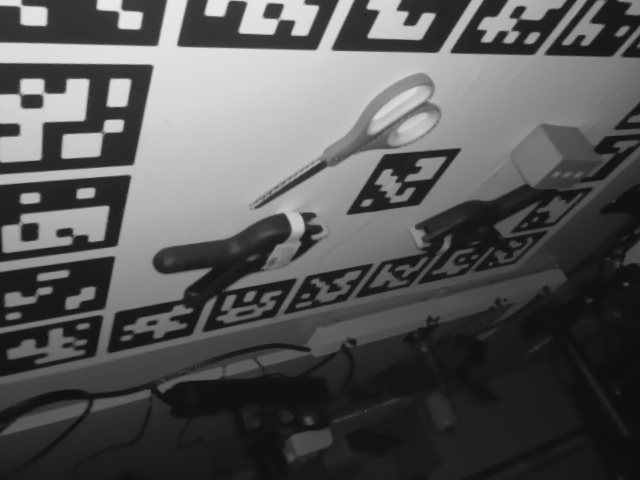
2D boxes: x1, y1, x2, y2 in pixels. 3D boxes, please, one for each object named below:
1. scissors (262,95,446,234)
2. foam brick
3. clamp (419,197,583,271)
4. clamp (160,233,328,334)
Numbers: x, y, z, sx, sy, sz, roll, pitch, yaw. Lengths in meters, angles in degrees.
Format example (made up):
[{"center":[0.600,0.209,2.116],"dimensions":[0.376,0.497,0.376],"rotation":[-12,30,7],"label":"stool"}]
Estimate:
[{"center":[0.026,-0.059,0.654],"dimensions":[0.201,0.016,0.088],"rotation":[-33,143,17],"label":"scissors"},{"center":[0.275,-0.077,0.794],"dimensions":[0.079,0.051,0.052],"rotation":[-8,146,-37],"label":"foam brick"},{"center":[0.218,0.001,0.889],"dimensions":[0.205,0.037,0.163],"rotation":[-10,151,-24],"label":"clamp"},{"center":[-0.071,0.037,0.730],"dimensions":[0.166,0.036,0.121],"rotation":[-24,144,-4],"label":"clamp"}]
